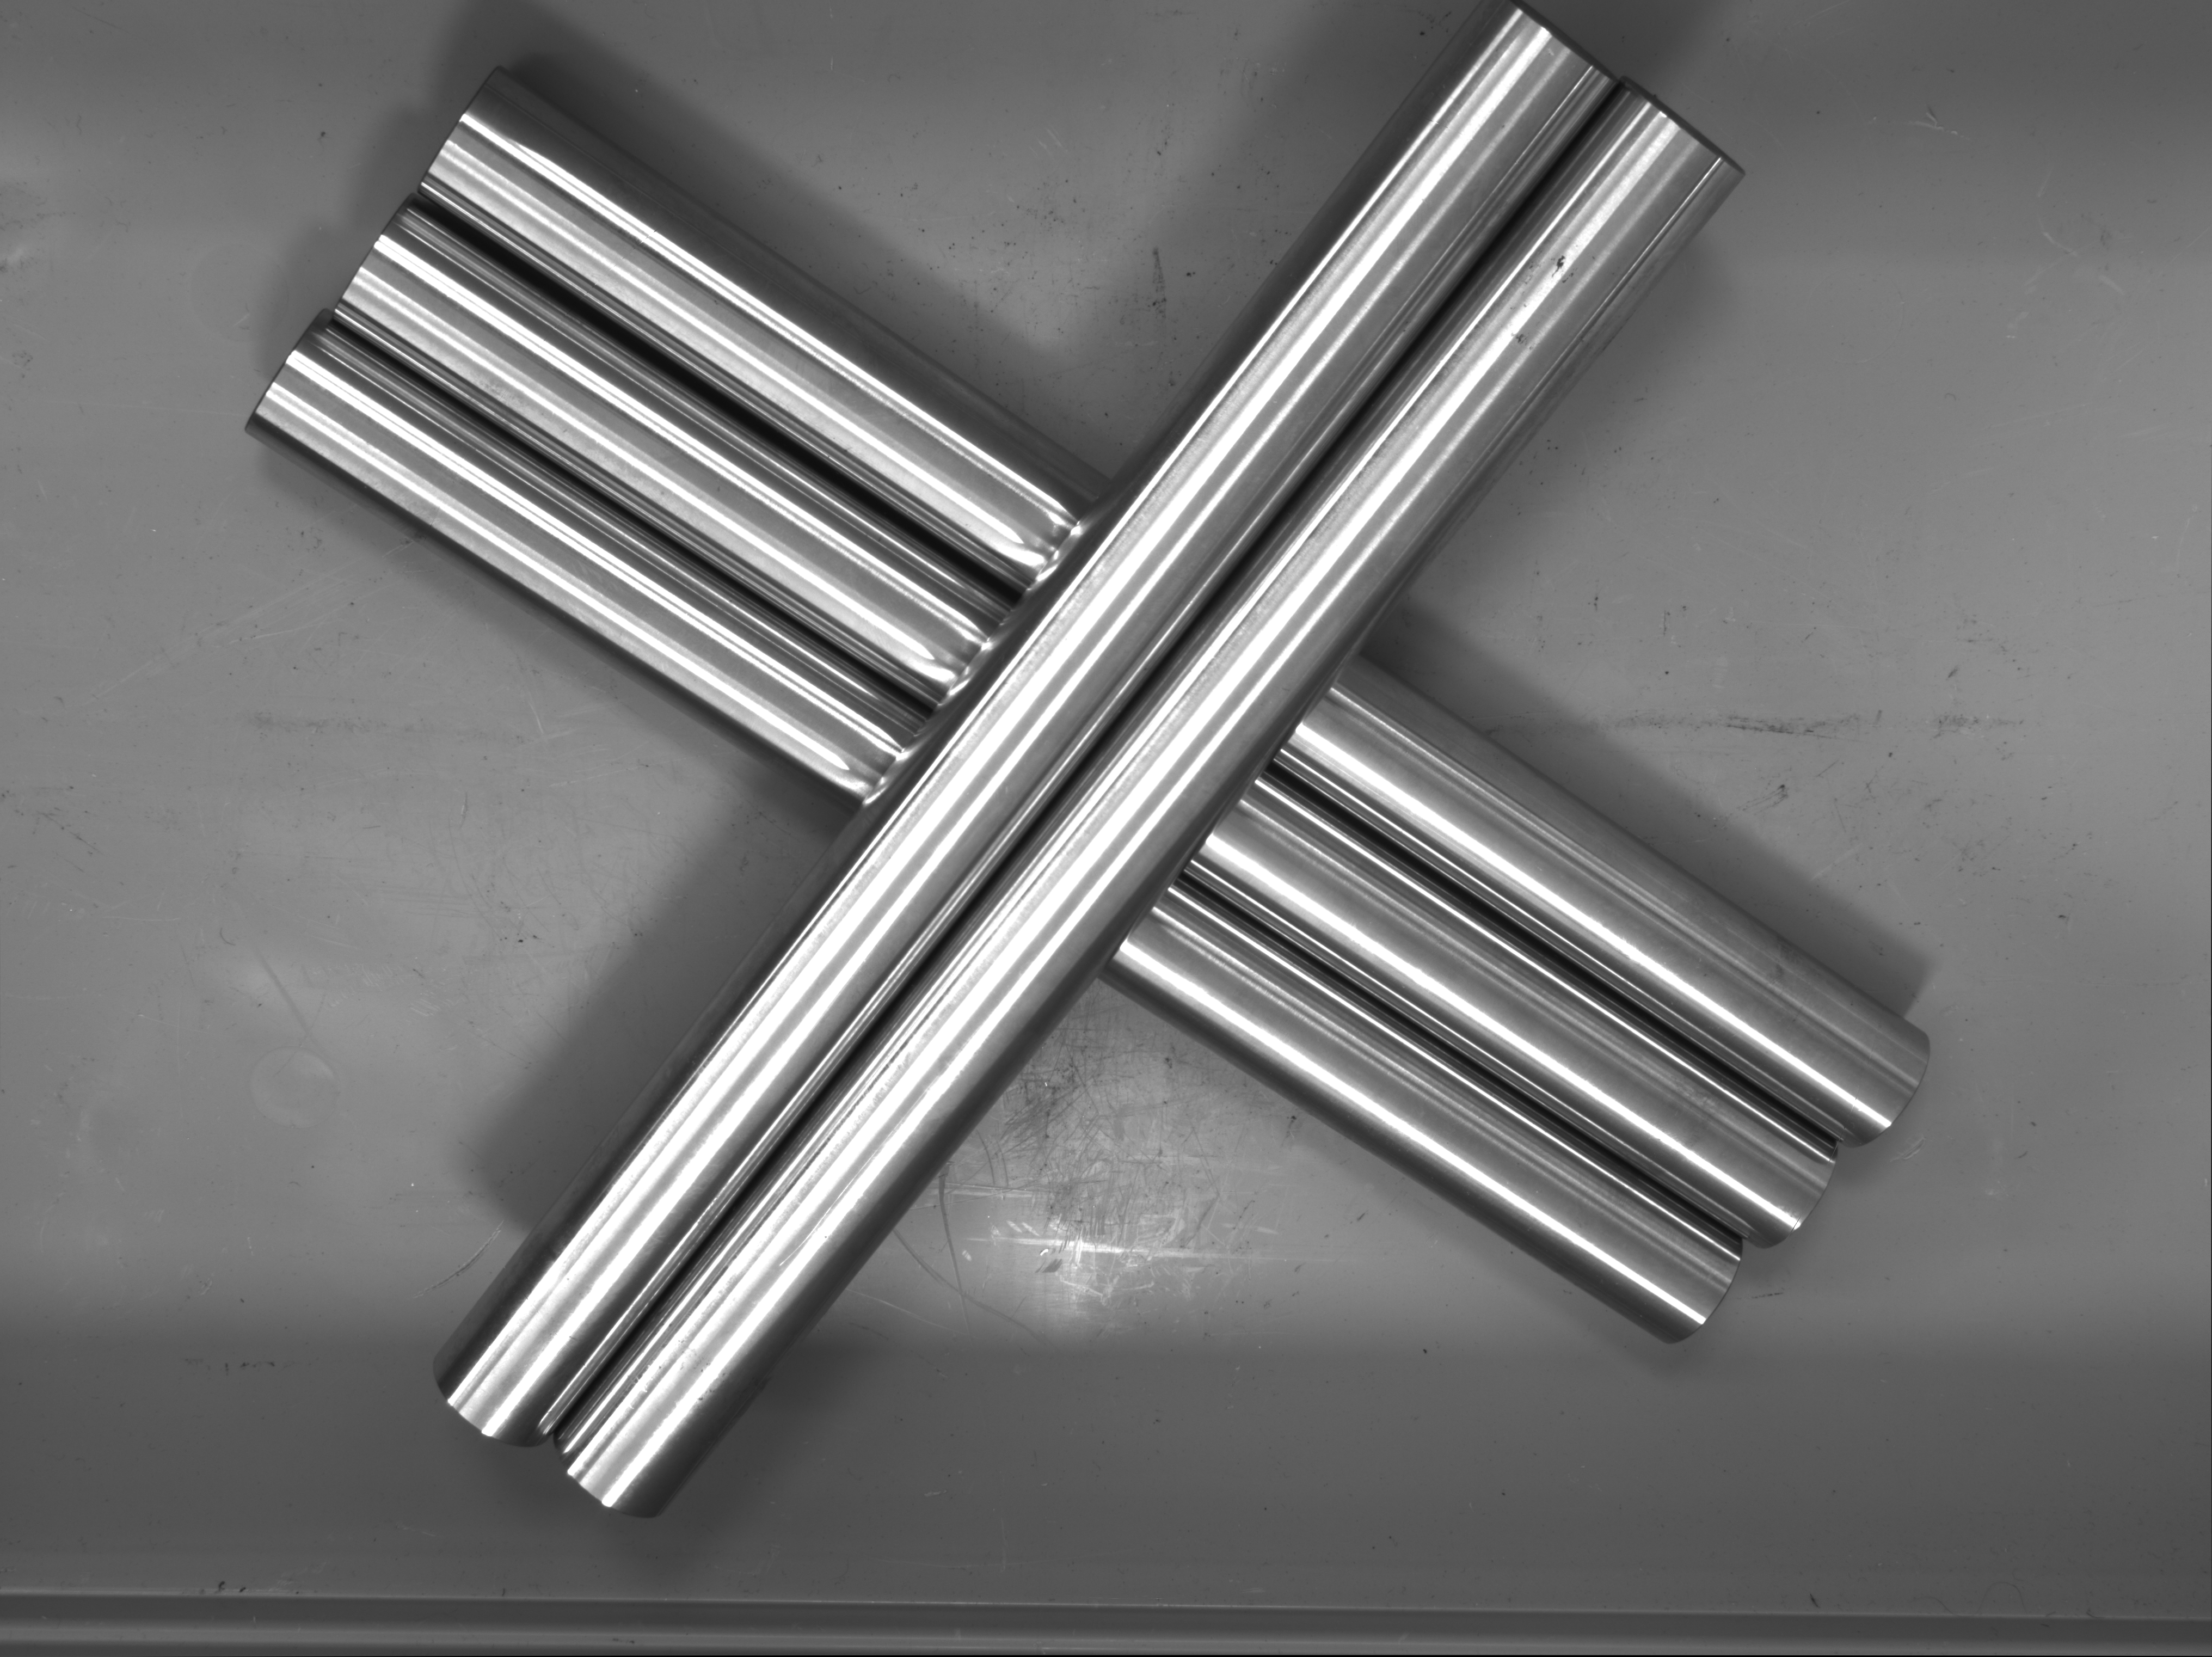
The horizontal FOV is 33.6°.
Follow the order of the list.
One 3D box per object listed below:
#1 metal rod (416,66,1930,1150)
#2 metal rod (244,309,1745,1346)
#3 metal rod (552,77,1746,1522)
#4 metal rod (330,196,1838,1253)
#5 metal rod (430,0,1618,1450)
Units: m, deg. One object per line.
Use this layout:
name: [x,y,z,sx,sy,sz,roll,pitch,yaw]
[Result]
metal rod: [0.017,-0.034,0.630,0.300,0.025,0.025,33,107,-11]
metal rod: [-0.014,0.004,0.644,0.300,0.025,0.025,33,107,-11]
metal rod: [0.001,0.002,0.617,0.025,0.025,0.300,35,106,-12]
metal rod: [0.002,-0.014,0.637,0.300,0.025,0.025,33,107,-11]
metal rod: [-0.020,-0.011,0.611,0.025,0.025,0.300,35,106,-12]
